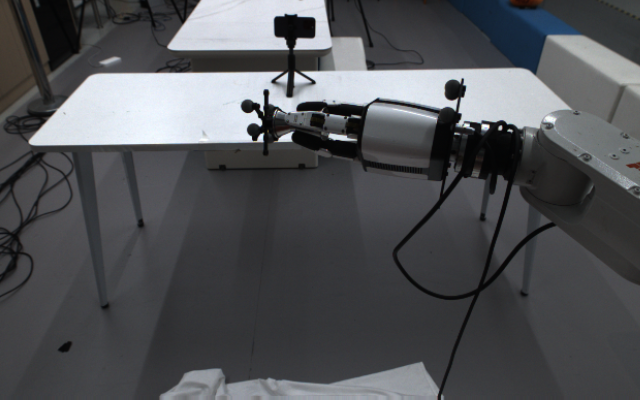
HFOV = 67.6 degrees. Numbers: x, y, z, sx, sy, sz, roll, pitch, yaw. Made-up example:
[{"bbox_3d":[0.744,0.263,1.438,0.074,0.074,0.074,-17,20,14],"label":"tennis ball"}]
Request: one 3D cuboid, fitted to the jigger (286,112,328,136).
[{"bbox_3d":[-0.018,-0.106,0.647,0.071,0.043,0.043,3,34,17],"label":"jigger"}]
